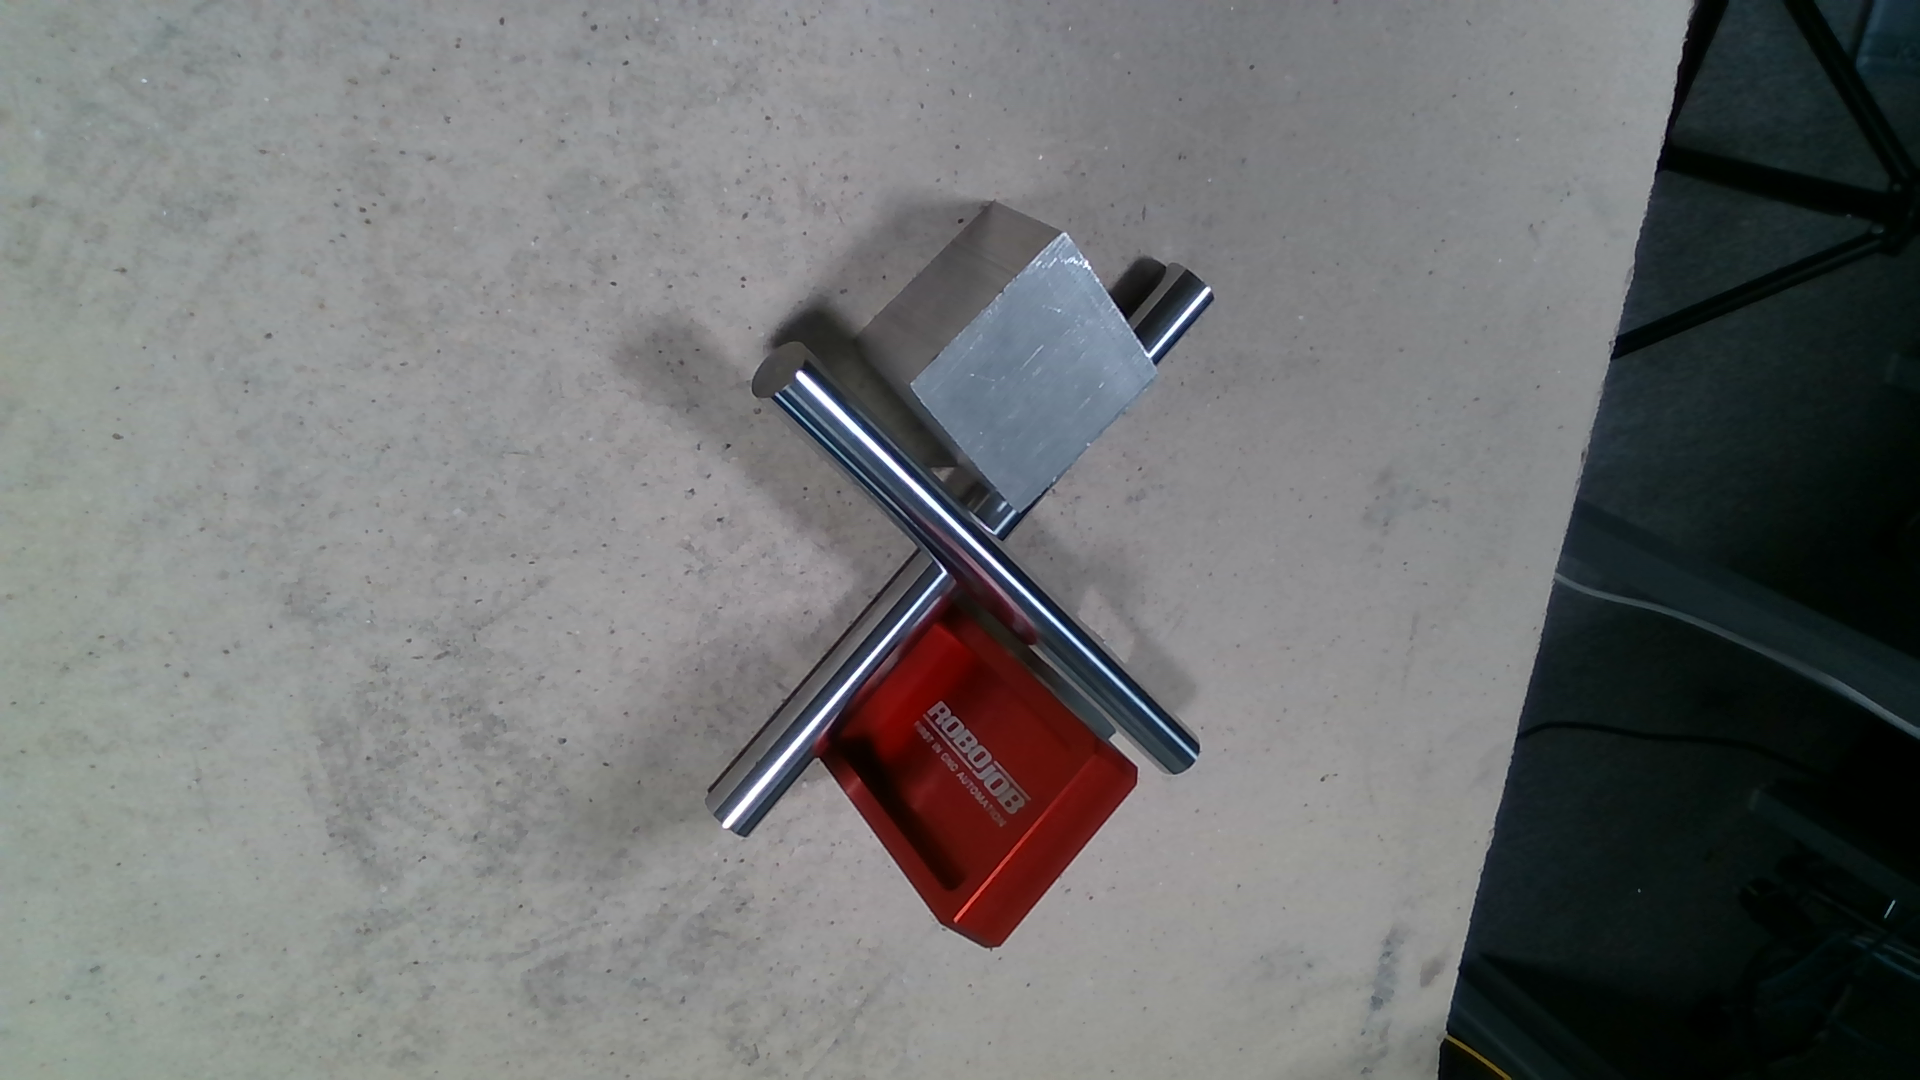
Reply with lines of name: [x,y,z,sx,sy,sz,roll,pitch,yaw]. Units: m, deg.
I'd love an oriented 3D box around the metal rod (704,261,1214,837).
metal rod: [-0.001,0.004,0.583,0.300,0.025,0.025,-49,129,0]

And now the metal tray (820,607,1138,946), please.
metal tray: [0.002,0.089,0.562,0.090,0.130,0.030,-50,129,0]

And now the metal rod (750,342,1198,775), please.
metal rod: [0.021,0.022,0.573,0.025,0.025,0.301,-47,129,-1]

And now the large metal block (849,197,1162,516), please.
large metal block: [0.019,-0.071,0.536,0.080,0.050,0.080,-45,129,-3]

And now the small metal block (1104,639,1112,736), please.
small metal block: [0.055,0.073,0.654,0.050,0.025,0.050,-44,129,-4]
